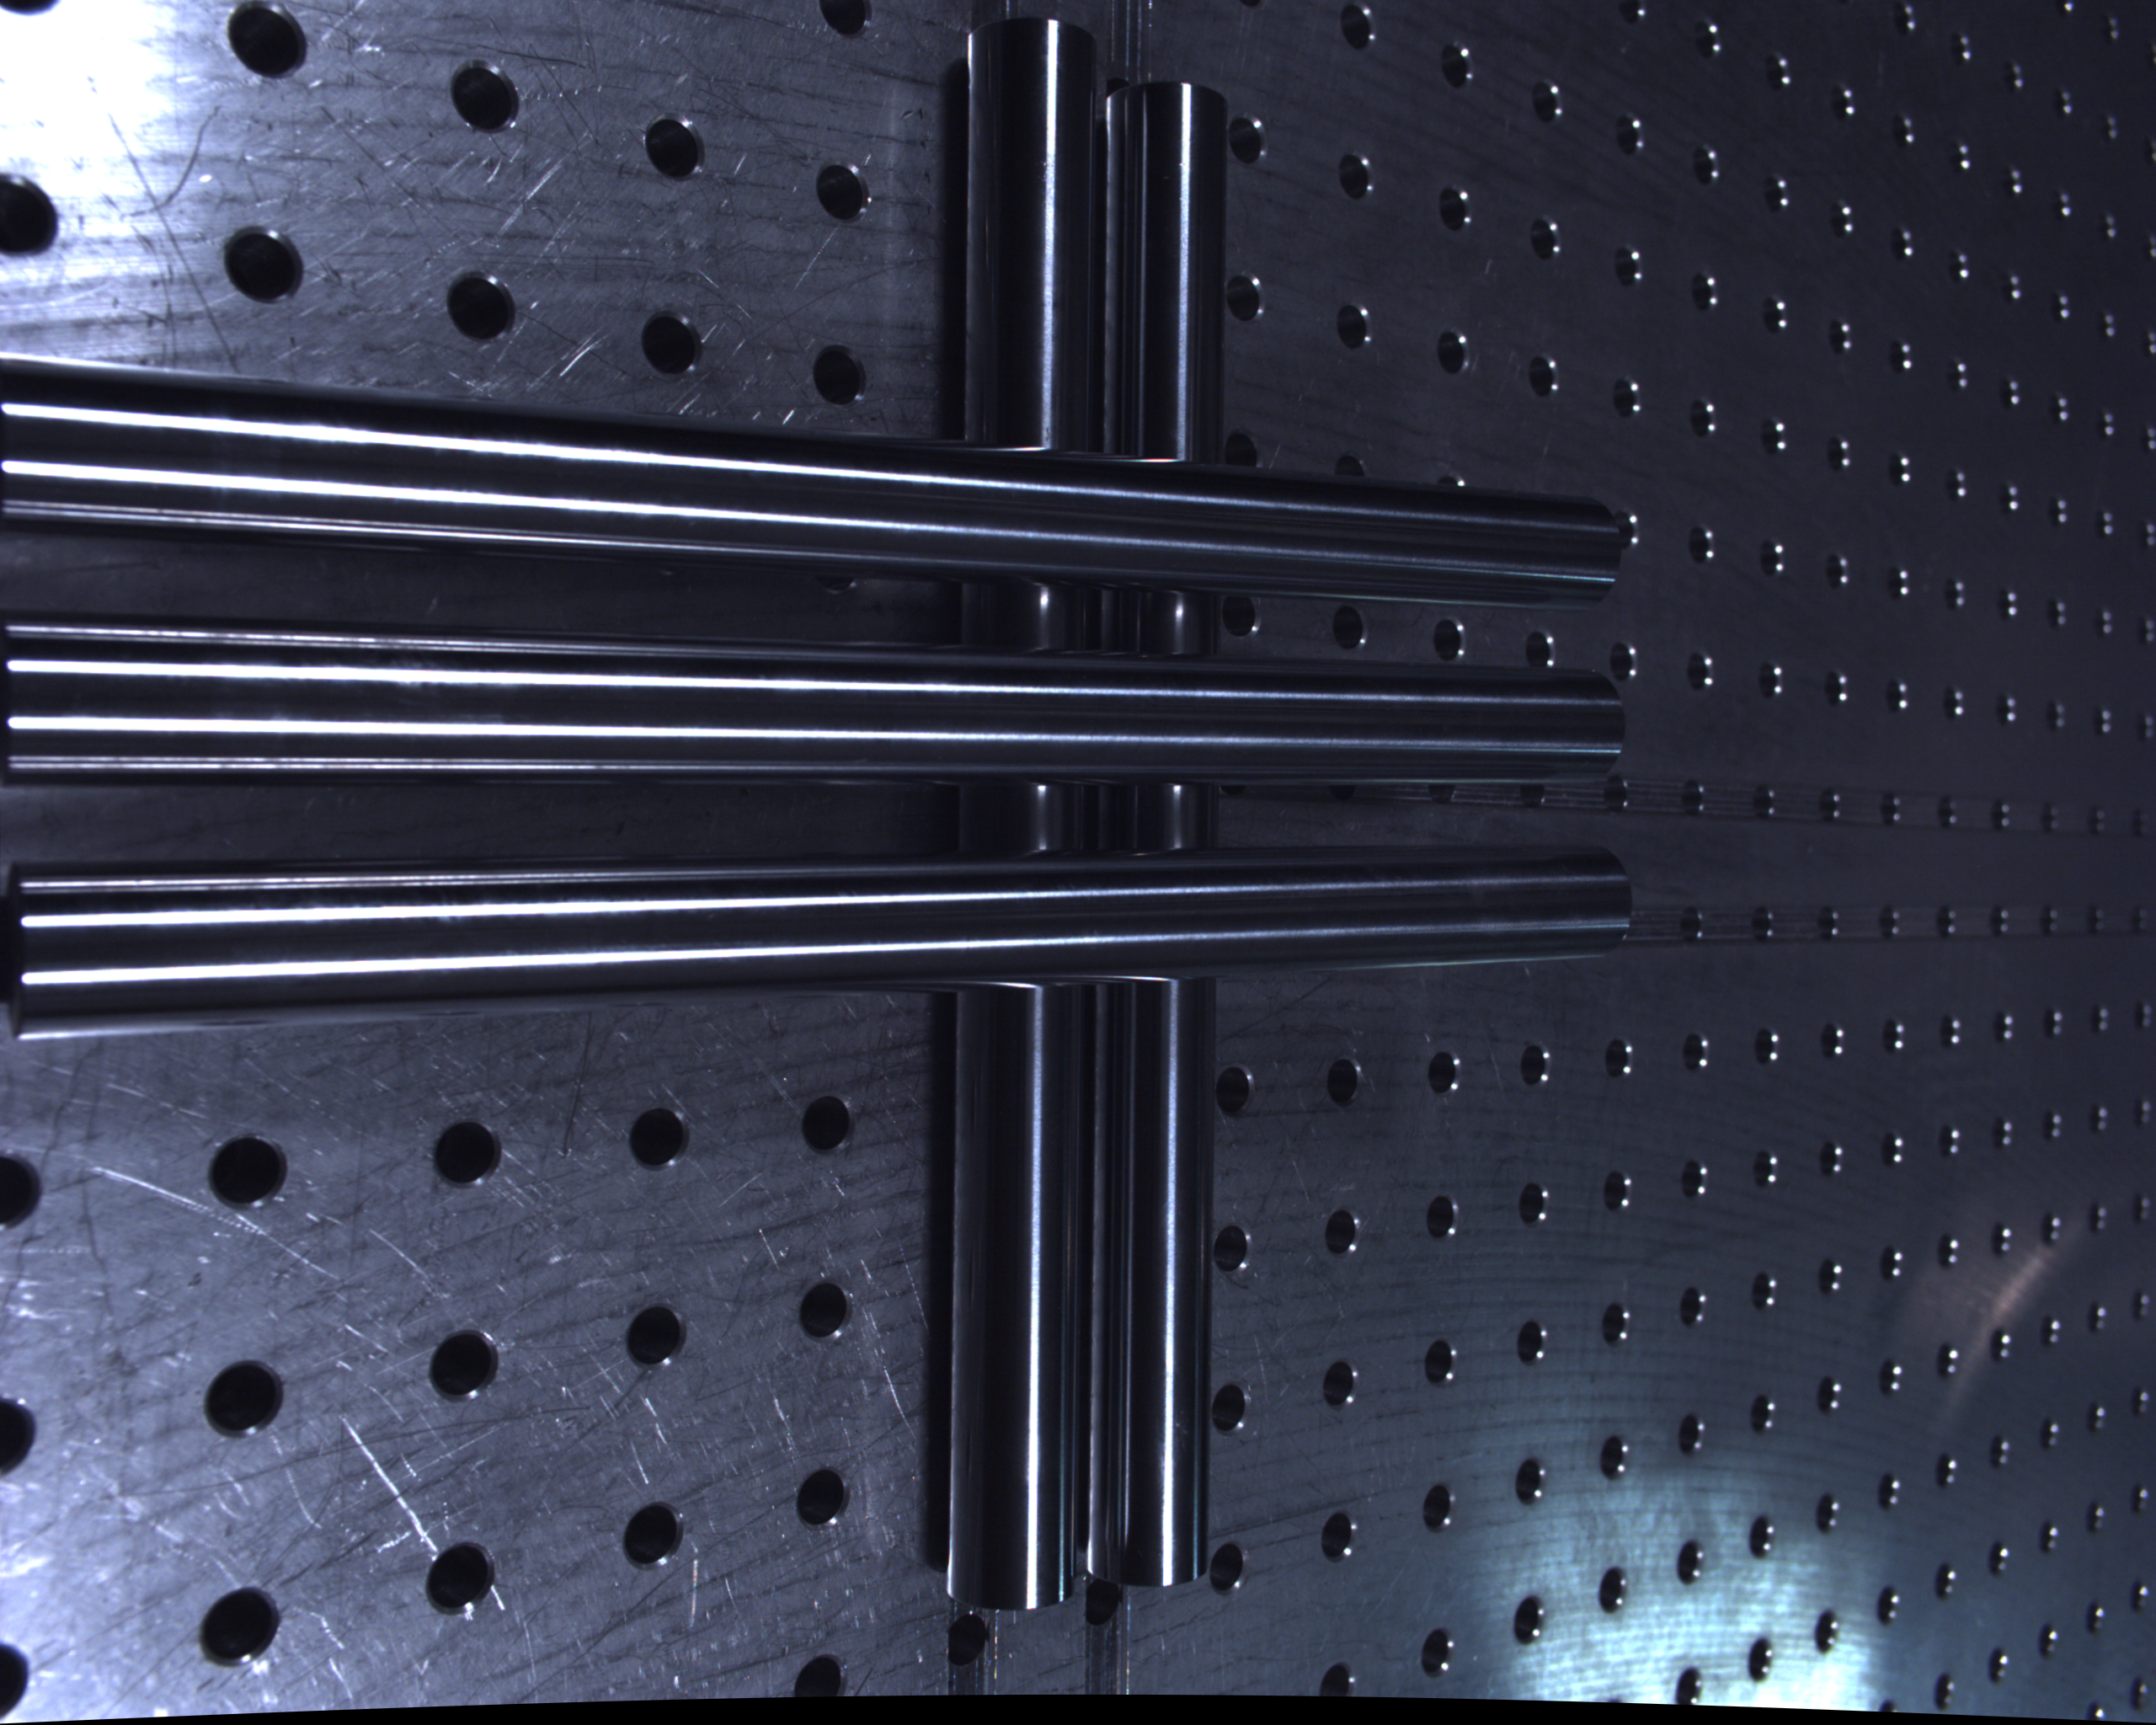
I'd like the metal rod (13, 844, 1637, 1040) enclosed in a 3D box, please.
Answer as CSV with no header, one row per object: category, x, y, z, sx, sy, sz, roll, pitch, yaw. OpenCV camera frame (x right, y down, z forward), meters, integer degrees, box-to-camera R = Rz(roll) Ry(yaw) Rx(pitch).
metal rod,-0.018,0.010,0.368,0.303,0.025,0.025,-1,91,-32

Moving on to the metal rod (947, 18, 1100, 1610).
metal rod,-0.010,-0.010,0.403,0.025,0.025,0.298,1,89,-40

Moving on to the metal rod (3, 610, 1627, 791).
metal rod,-0.020,-0.026,0.368,0.303,0.025,0.025,-2,91,-32

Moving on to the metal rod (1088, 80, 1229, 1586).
metal rod,0.016,-0.006,0.425,0.025,0.025,0.298,1,89,-40

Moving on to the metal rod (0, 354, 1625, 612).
metal rod,-0.020,-0.062,0.367,0.303,0.025,0.025,-2,92,-32
